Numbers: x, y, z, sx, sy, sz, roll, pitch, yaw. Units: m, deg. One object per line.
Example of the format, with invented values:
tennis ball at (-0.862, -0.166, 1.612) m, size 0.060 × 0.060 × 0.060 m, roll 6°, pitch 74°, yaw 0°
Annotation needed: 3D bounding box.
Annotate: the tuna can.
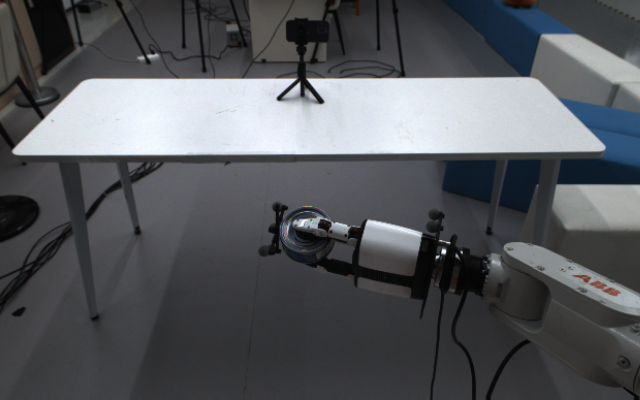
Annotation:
tuna can at (-0.018, 0.052, 0.747) m, size 0.085 × 0.034 × 0.085 m, roll -2°, pitch 58°, yaw 3°
